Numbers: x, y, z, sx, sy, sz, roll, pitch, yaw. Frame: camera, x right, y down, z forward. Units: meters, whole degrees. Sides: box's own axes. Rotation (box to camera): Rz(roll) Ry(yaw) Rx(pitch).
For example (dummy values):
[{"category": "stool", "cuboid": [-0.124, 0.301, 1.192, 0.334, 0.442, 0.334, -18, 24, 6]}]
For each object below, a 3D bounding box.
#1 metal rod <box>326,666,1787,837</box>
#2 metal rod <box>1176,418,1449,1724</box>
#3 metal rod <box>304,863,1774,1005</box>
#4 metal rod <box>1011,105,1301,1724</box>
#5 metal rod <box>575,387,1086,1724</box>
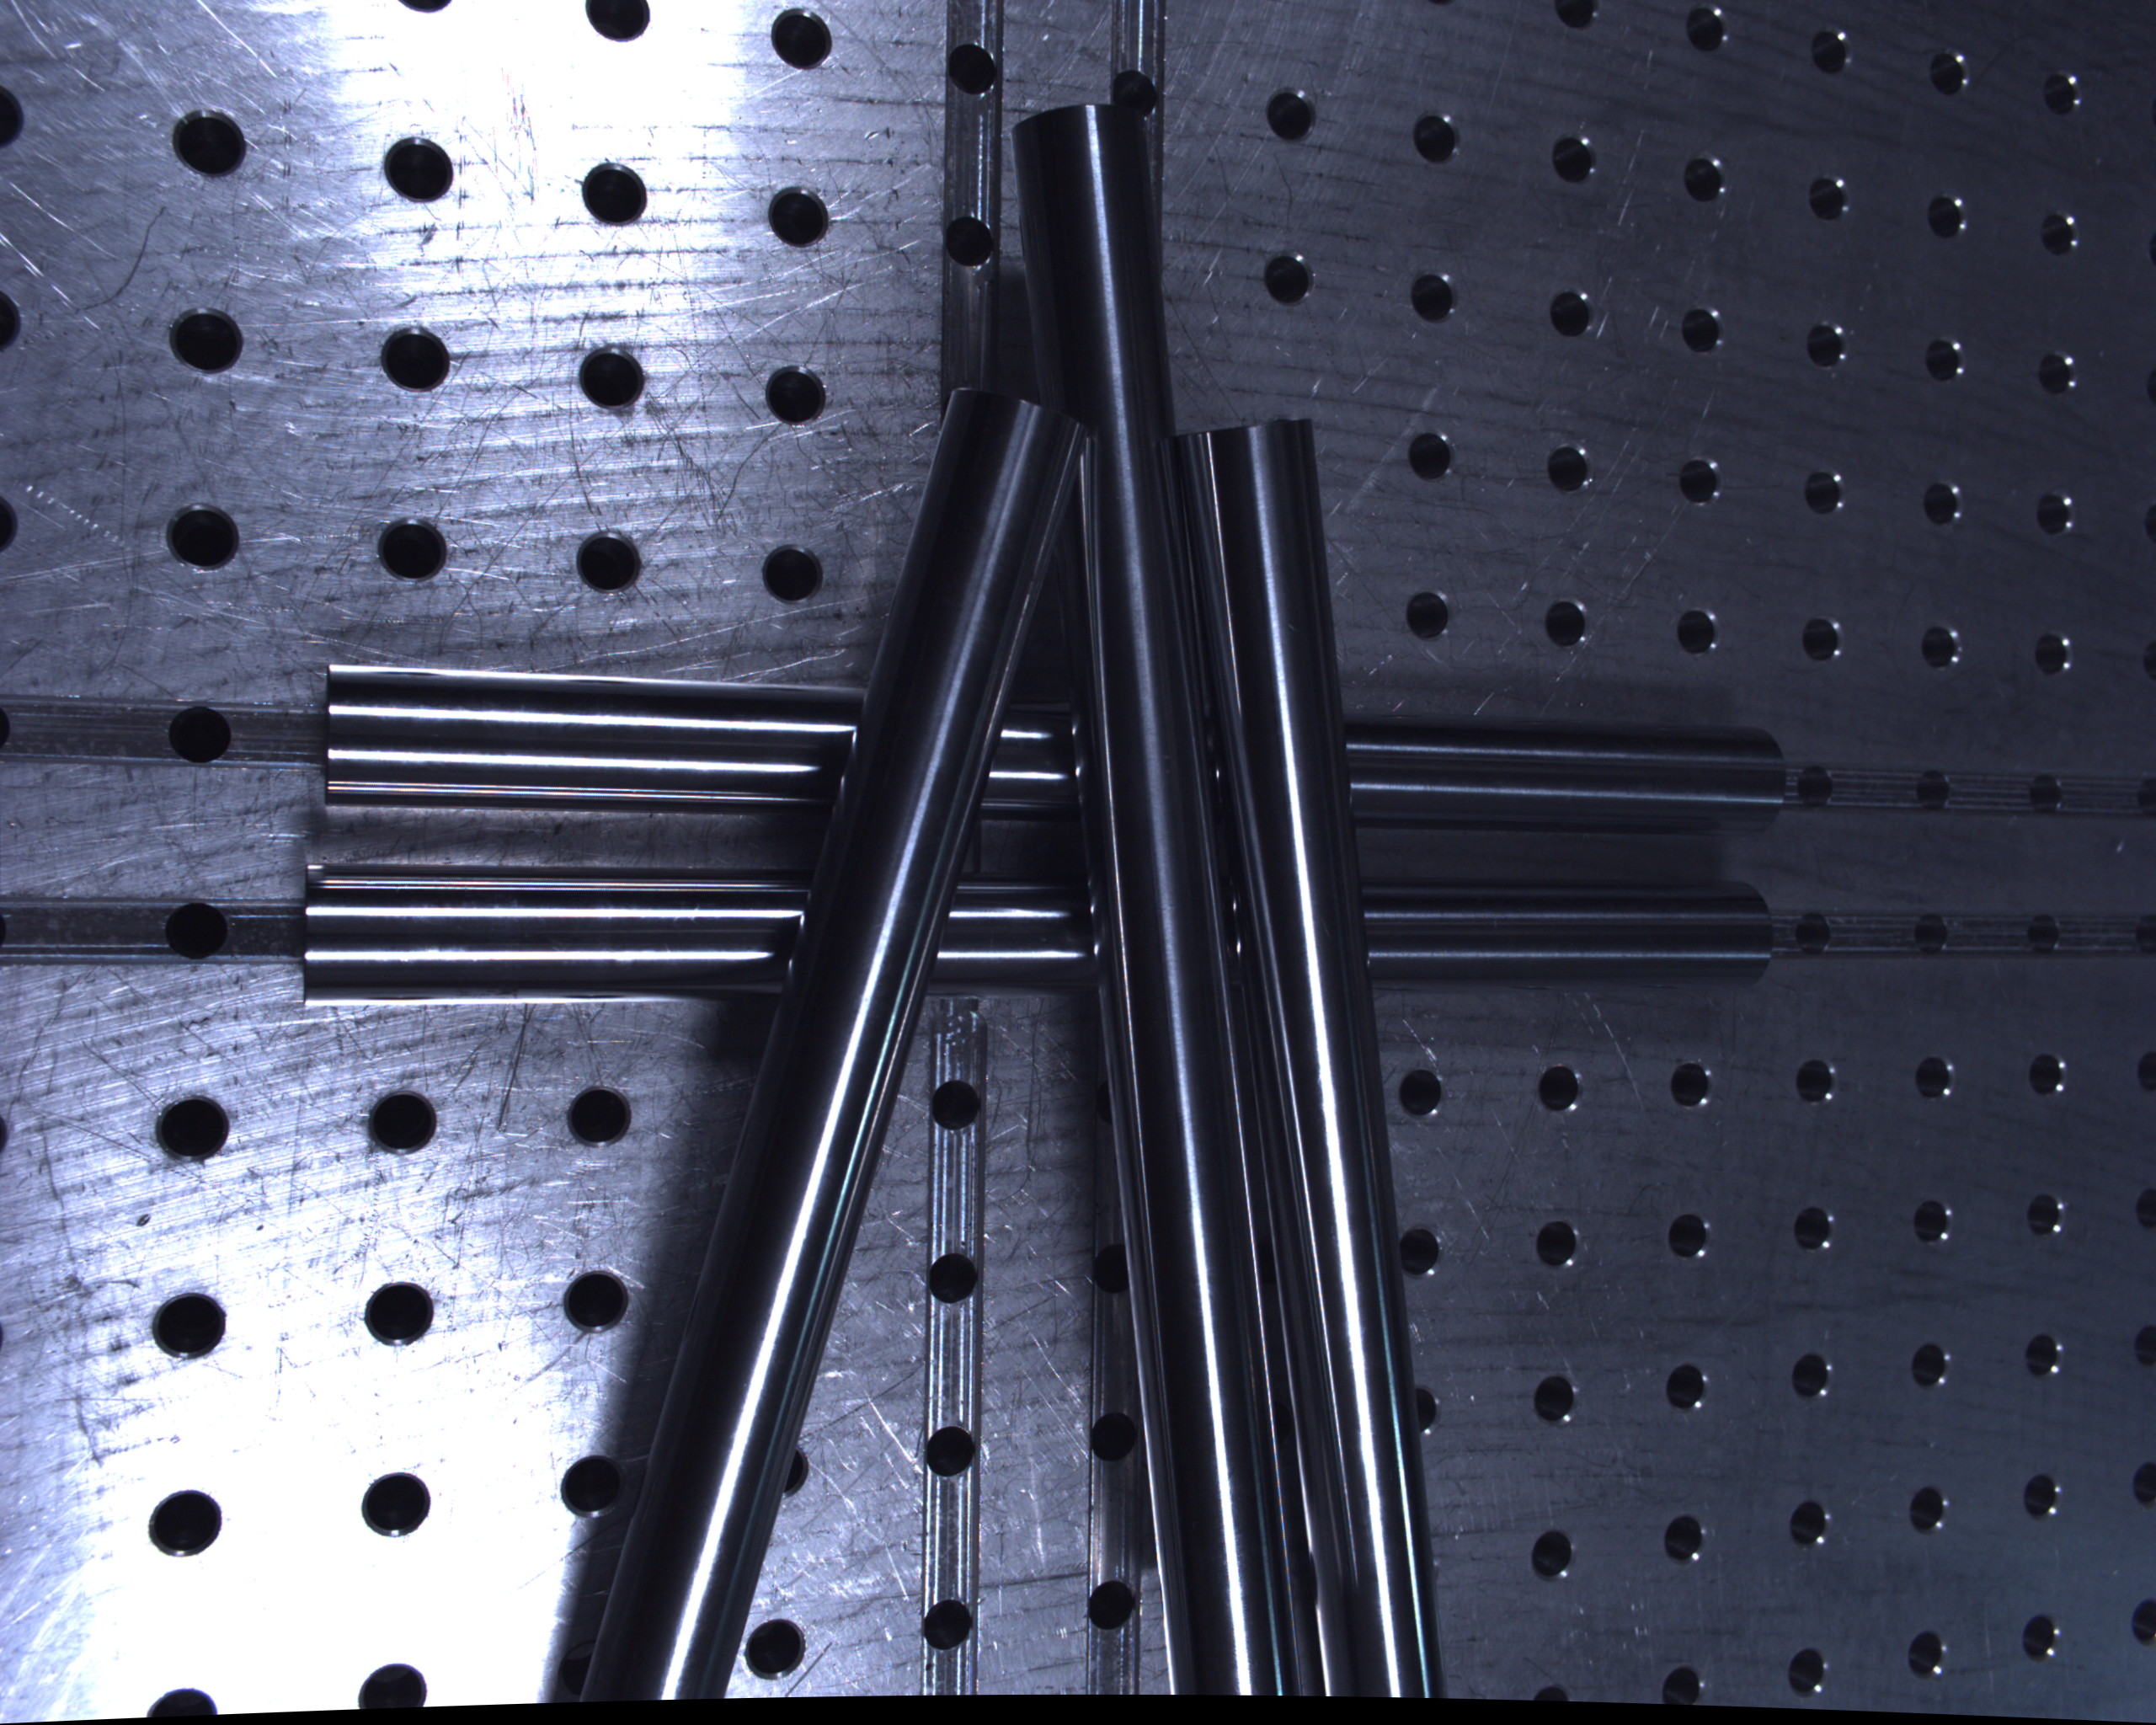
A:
[{"category": "metal rod", "cuboid": [0.010, -0.020, 0.418, 0.303, 0.025, 0.025, 1, 90, -21]}, {"category": "metal rod", "cuboid": [0.050, 0.065, 0.412, 0.025, 0.025, 0.298, -11, 101, -20]}, {"category": "metal rod", "cuboid": [0.007, 0.014, 0.417, 0.303, 0.025, 0.025, 1, 90, -21]}, {"category": "metal rod", "cuboid": [0.015, 0.012, 0.393, 0.025, 0.025, 0.298, -7, 93, -20]}, {"category": "metal rod", "cuboid": [-0.052, 0.063, 0.375, 0.025, 0.025, 0.298, 15, 92, -20]}]
